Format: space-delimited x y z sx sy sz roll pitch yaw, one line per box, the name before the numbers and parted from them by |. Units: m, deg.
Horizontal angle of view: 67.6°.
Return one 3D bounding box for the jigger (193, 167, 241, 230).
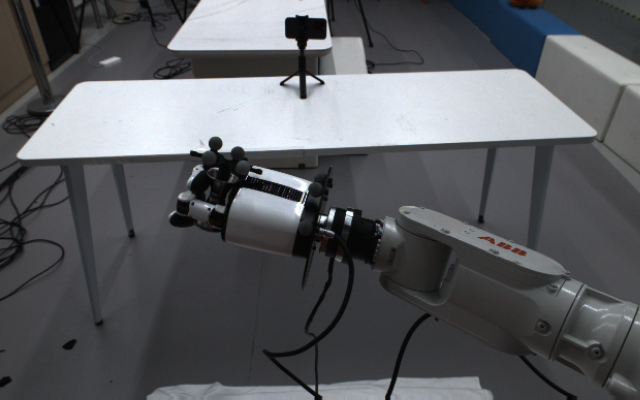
jigger | -0.128 0.002 0.606 0.043 0.071 0.043 18 17 -6
